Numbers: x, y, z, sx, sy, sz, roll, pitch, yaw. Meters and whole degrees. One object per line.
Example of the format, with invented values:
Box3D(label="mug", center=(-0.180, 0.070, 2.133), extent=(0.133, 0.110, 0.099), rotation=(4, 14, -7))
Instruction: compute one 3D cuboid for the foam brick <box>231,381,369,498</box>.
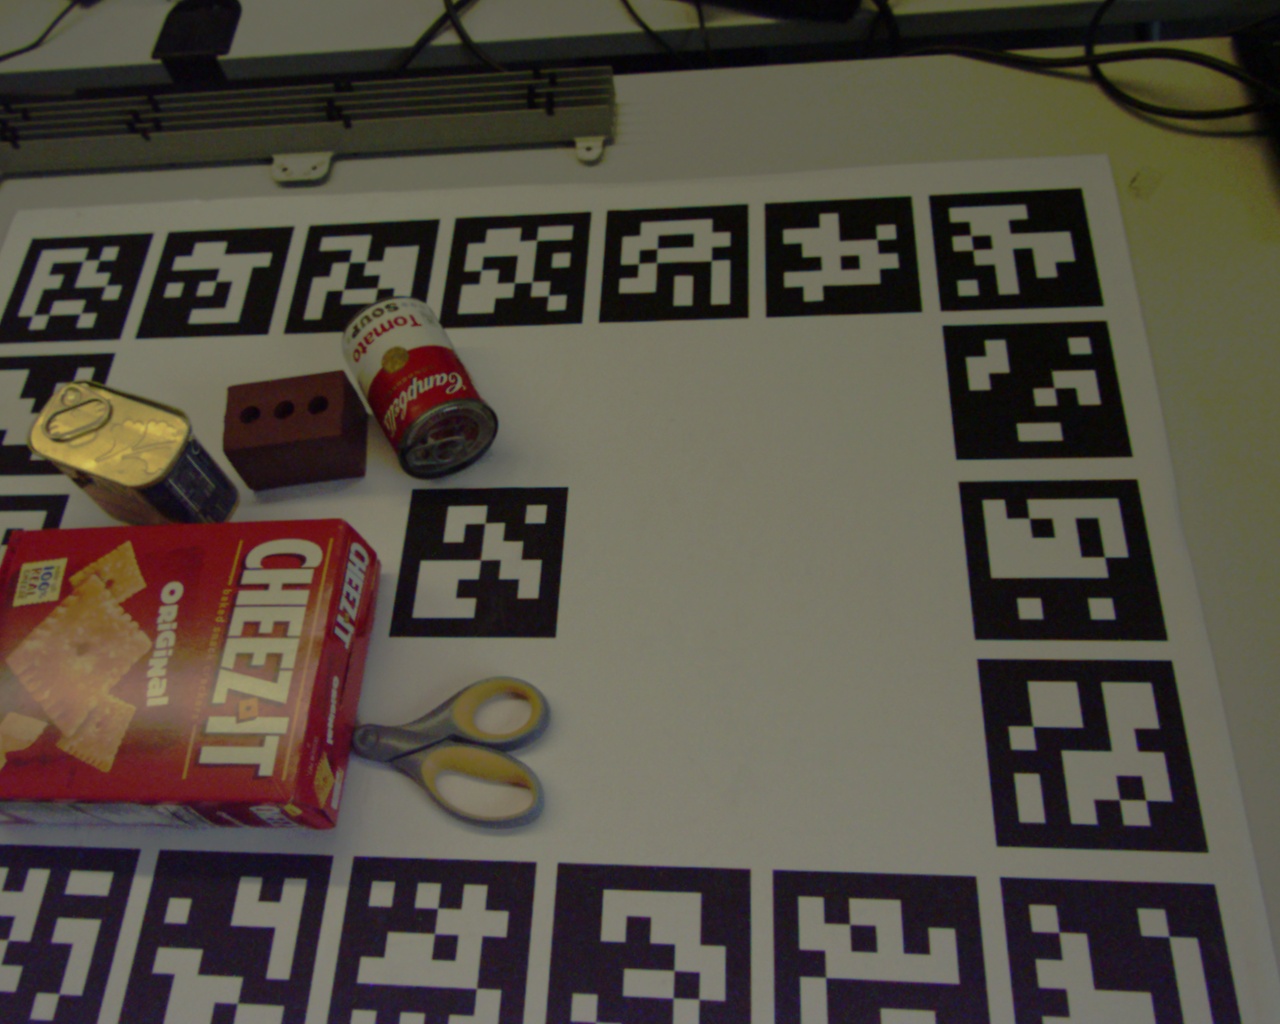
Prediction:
Box3D(label="foam brick", center=(-0.227, -0.048, 0.767), extent=(0.078, 0.051, 0.053), rotation=(-10, 63, 2))

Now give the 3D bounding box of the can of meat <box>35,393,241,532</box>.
Box3D(label="can of meat", center=(-0.325, -0.027, 0.749), extent=(0.102, 0.083, 0.058), rotation=(12, 66, 13))

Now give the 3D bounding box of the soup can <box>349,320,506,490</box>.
Box3D(label="soup can", center=(-0.144, -0.073, 0.767), extent=(0.067, 0.067, 0.103), rotation=(-34, 59, -10))

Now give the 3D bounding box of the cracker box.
Box3D(label="cracker box", center=(-0.280, 0.096, 0.672), extent=(0.214, 0.071, 0.165), rotation=(-7, 62, 9))

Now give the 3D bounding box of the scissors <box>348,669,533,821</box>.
Box3D(label="scissors", center=(-0.163, 0.140, 0.668), extent=(0.203, 0.016, 0.088), rotation=(-5, 63, 6))
